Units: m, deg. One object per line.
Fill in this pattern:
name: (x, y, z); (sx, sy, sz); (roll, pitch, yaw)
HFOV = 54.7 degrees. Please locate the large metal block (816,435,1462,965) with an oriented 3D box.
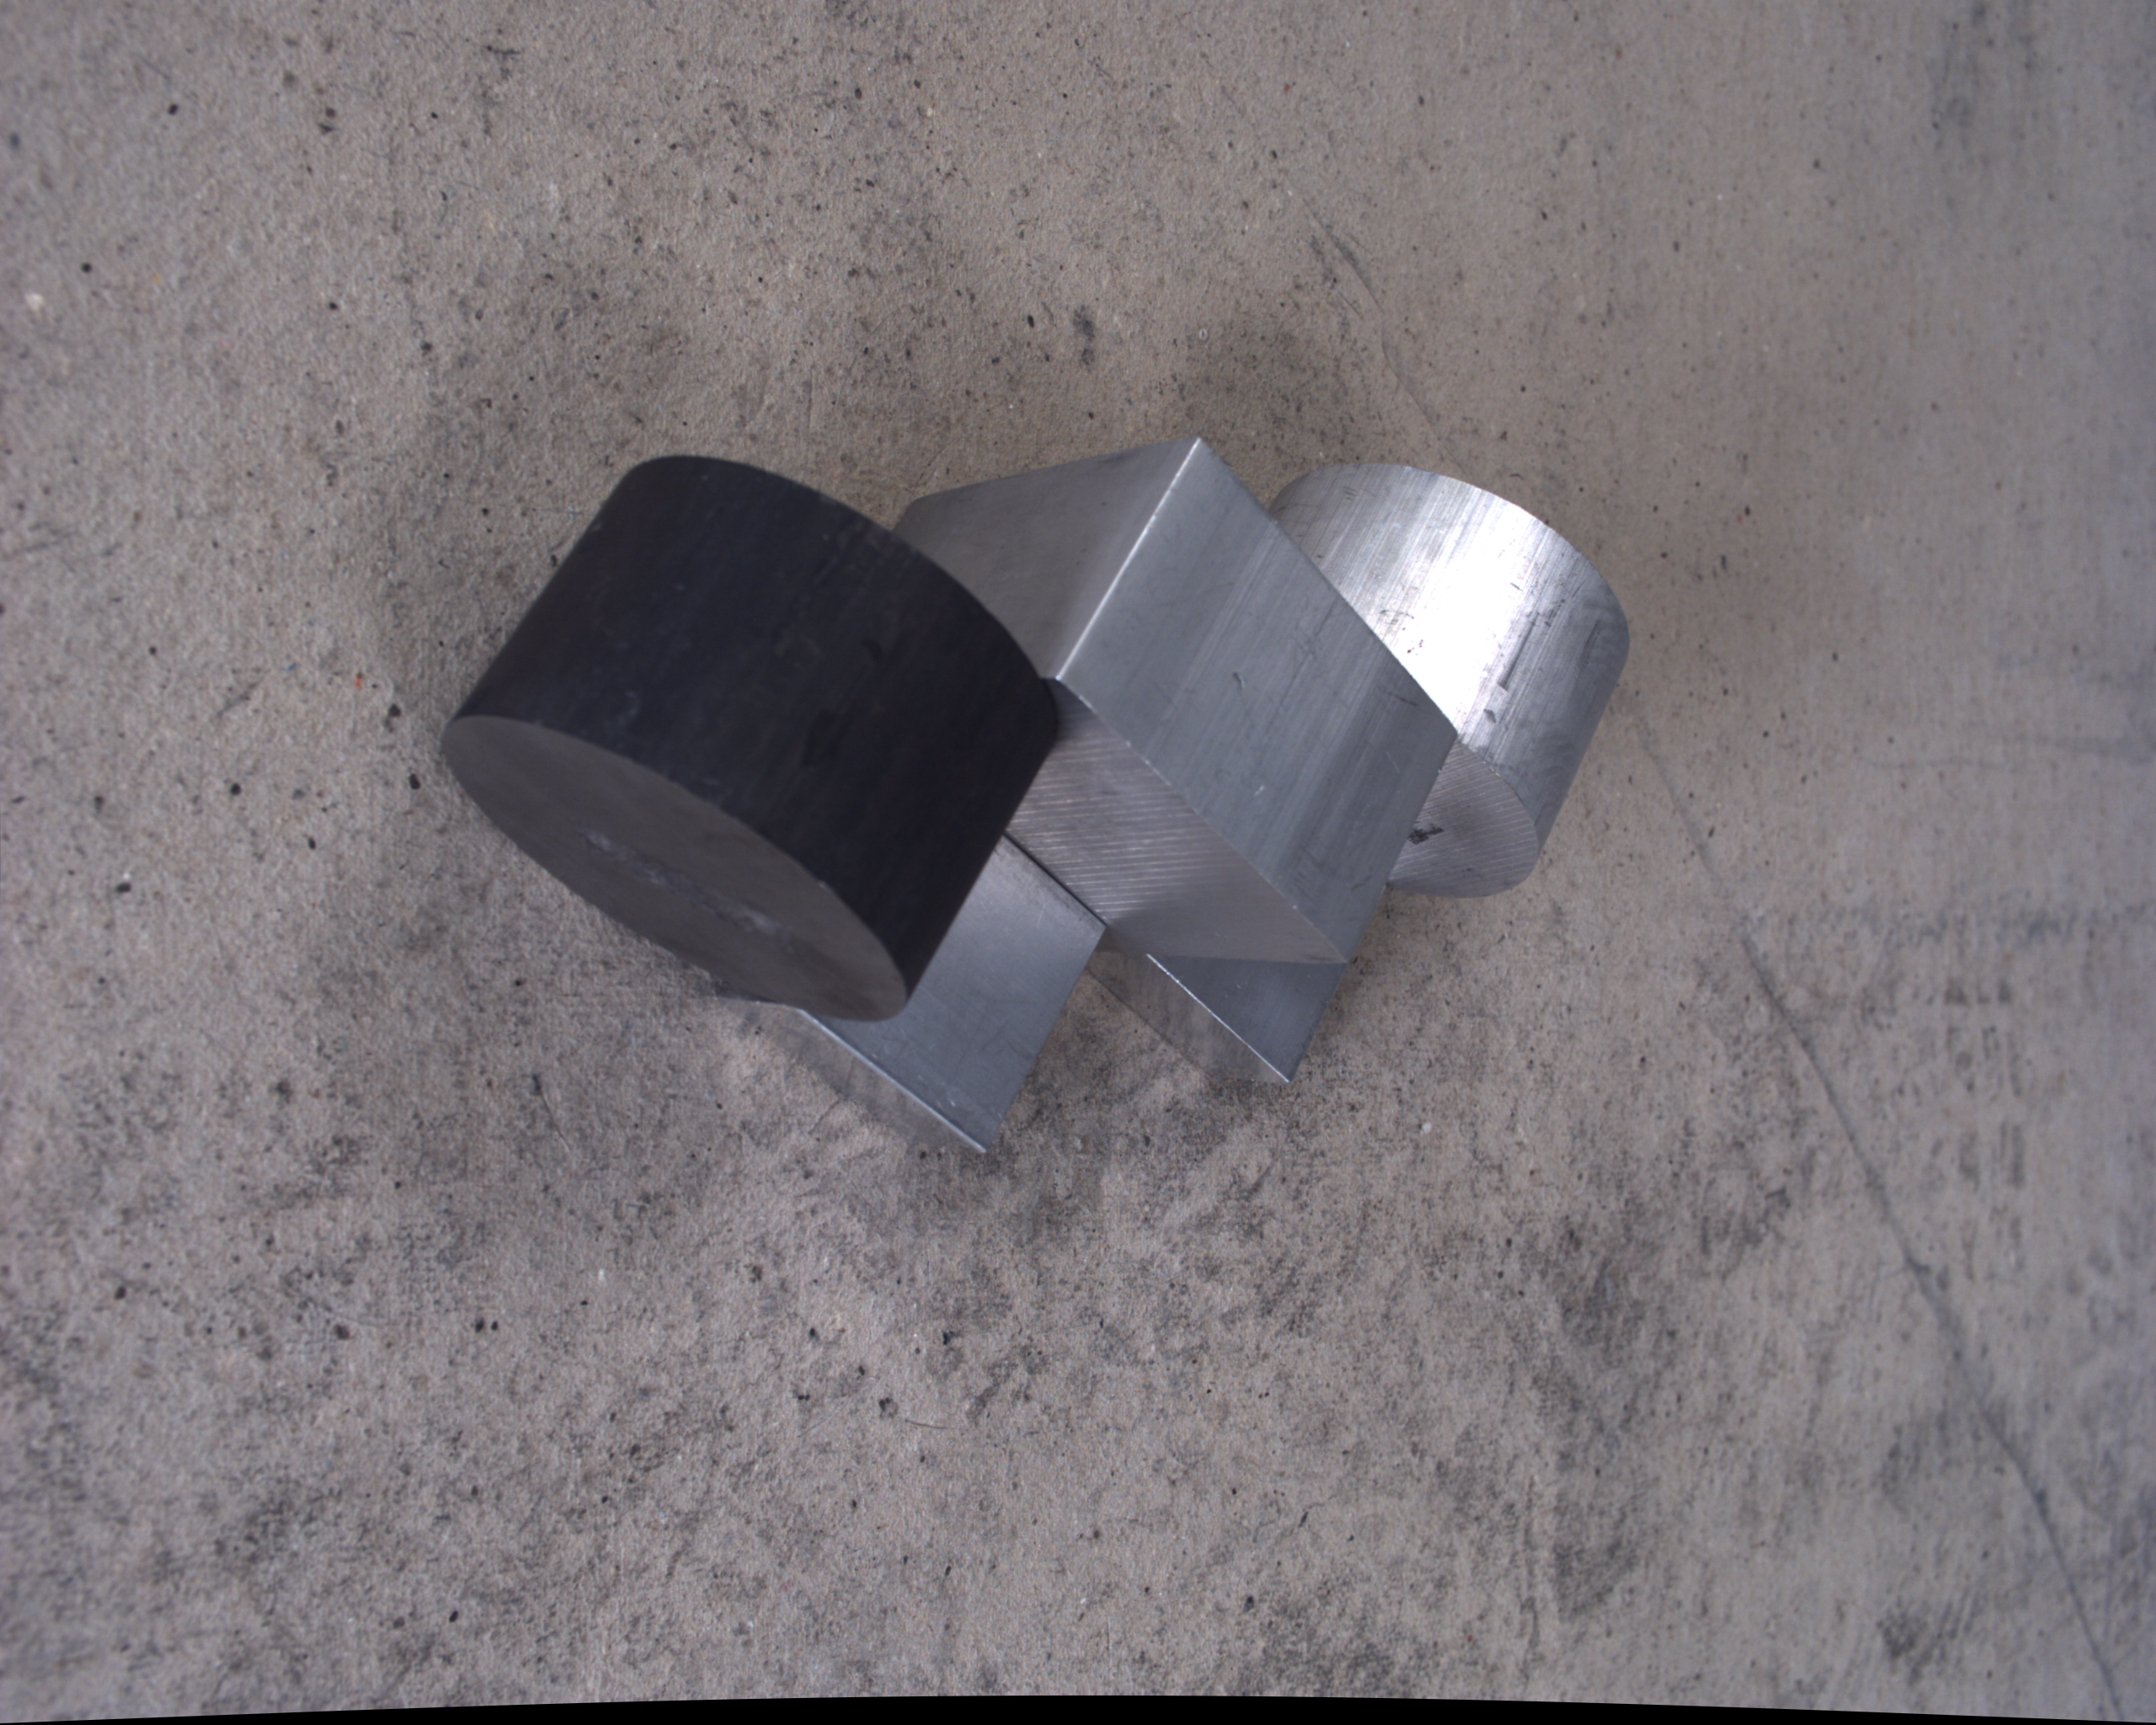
large metal block: (0.007, -0.026, 0.377); (0.080, 0.080, 0.050); (42, 64, -32)

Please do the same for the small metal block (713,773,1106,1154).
small metal block: (-0.030, 0.018, 0.382); (0.050, 0.025, 0.050); (43, 64, -32)

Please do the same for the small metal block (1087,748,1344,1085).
small metal block: (0.031, 0.011, 0.432); (0.050, 0.025, 0.050); (43, 64, -32)

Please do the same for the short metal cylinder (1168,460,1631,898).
short metal cylinder: (0.065, -0.036, 0.424); (0.080, 0.080, 0.050); (43, 64, -32)

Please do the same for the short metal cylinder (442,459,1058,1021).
short metal cylinder: (-0.050, -0.018, 0.328); (0.080, 0.080, 0.050); (42, 64, -32)
